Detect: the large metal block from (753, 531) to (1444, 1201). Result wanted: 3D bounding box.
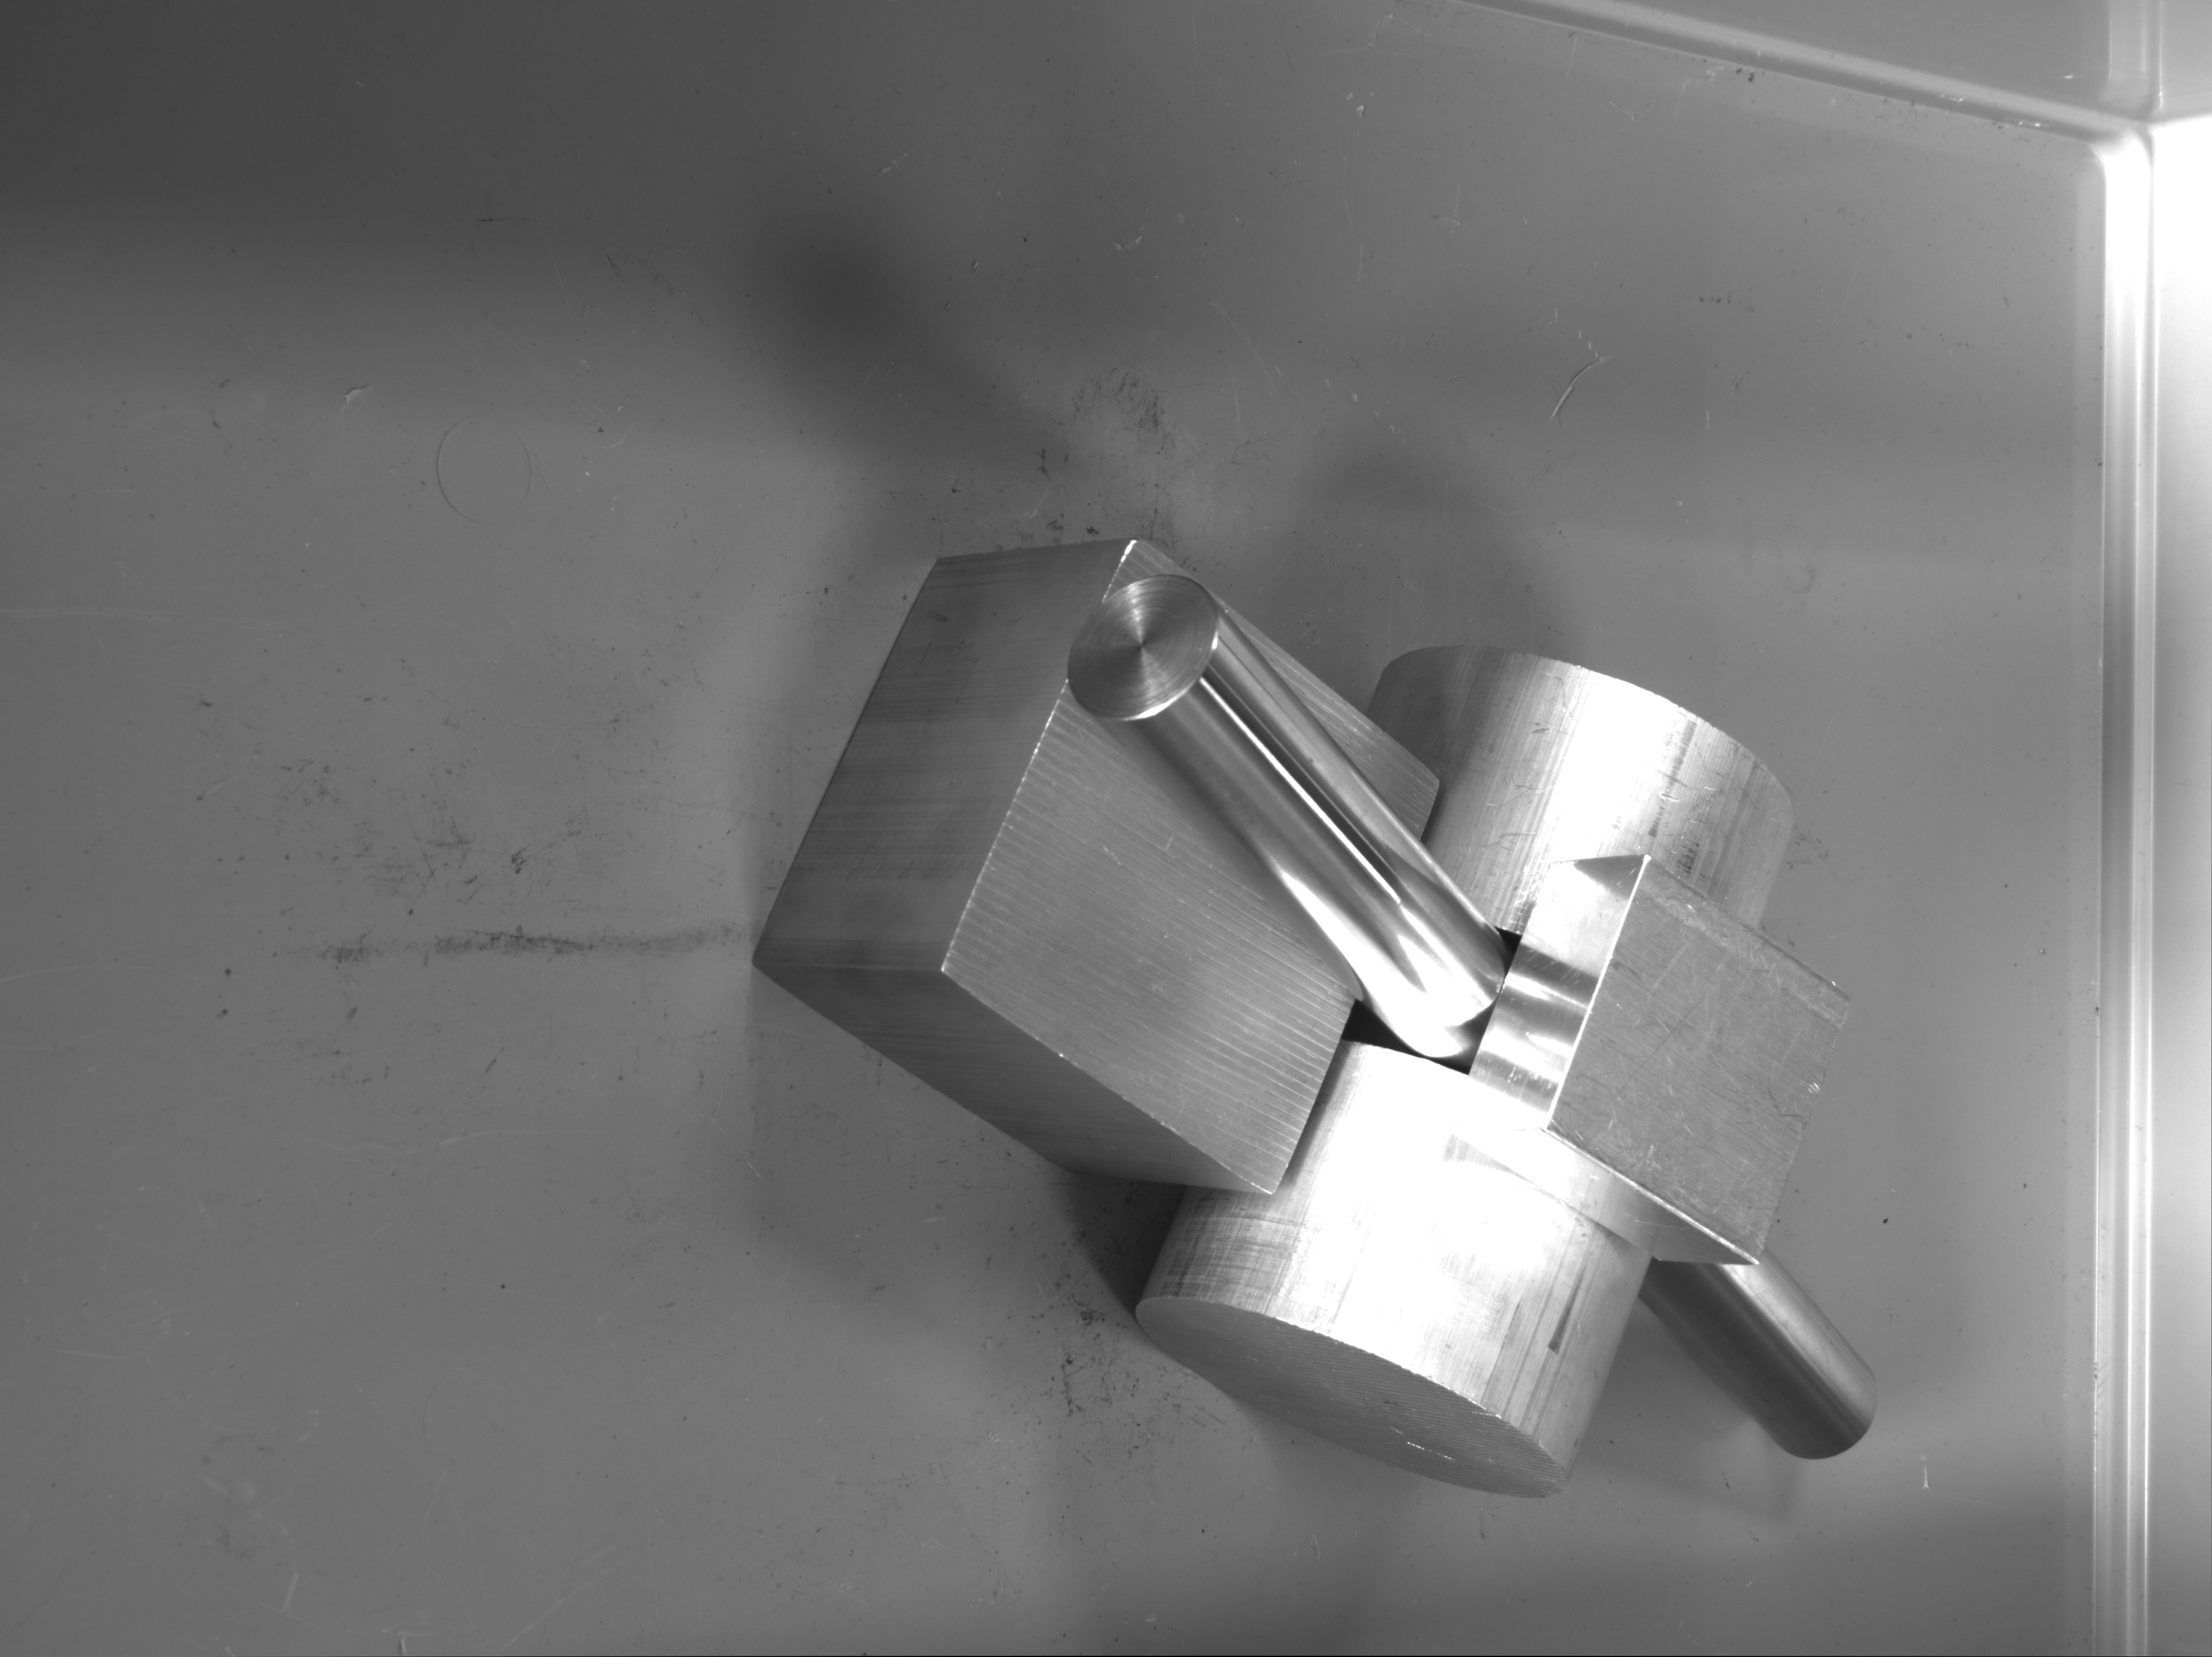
[{"bbox_3d":[0.000,0.007,0.616,0.080,0.050,0.080,36,68,-34],"label":"large metal block"}]

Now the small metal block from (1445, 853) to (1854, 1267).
[{"bbox_3d":[0.090,0.039,0.608,0.050,0.025,0.050,32,70,-26],"label":"small metal block"}]

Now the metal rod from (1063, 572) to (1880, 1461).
[{"bbox_3d":[0.076,0.046,0.647,0.301,0.025,0.025,45,62,-47],"label":"metal rod"}]

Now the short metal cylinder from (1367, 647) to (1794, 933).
[{"bbox_3d":[0.078,0.009,0.665,0.080,0.080,0.050,34,69,-34],"label":"short metal cylinder"}]

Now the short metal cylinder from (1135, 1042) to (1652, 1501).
[{"bbox_3d":[0.052,0.077,0.642,0.080,0.080,0.050,37,67,-33],"label":"short metal cylinder"}]
